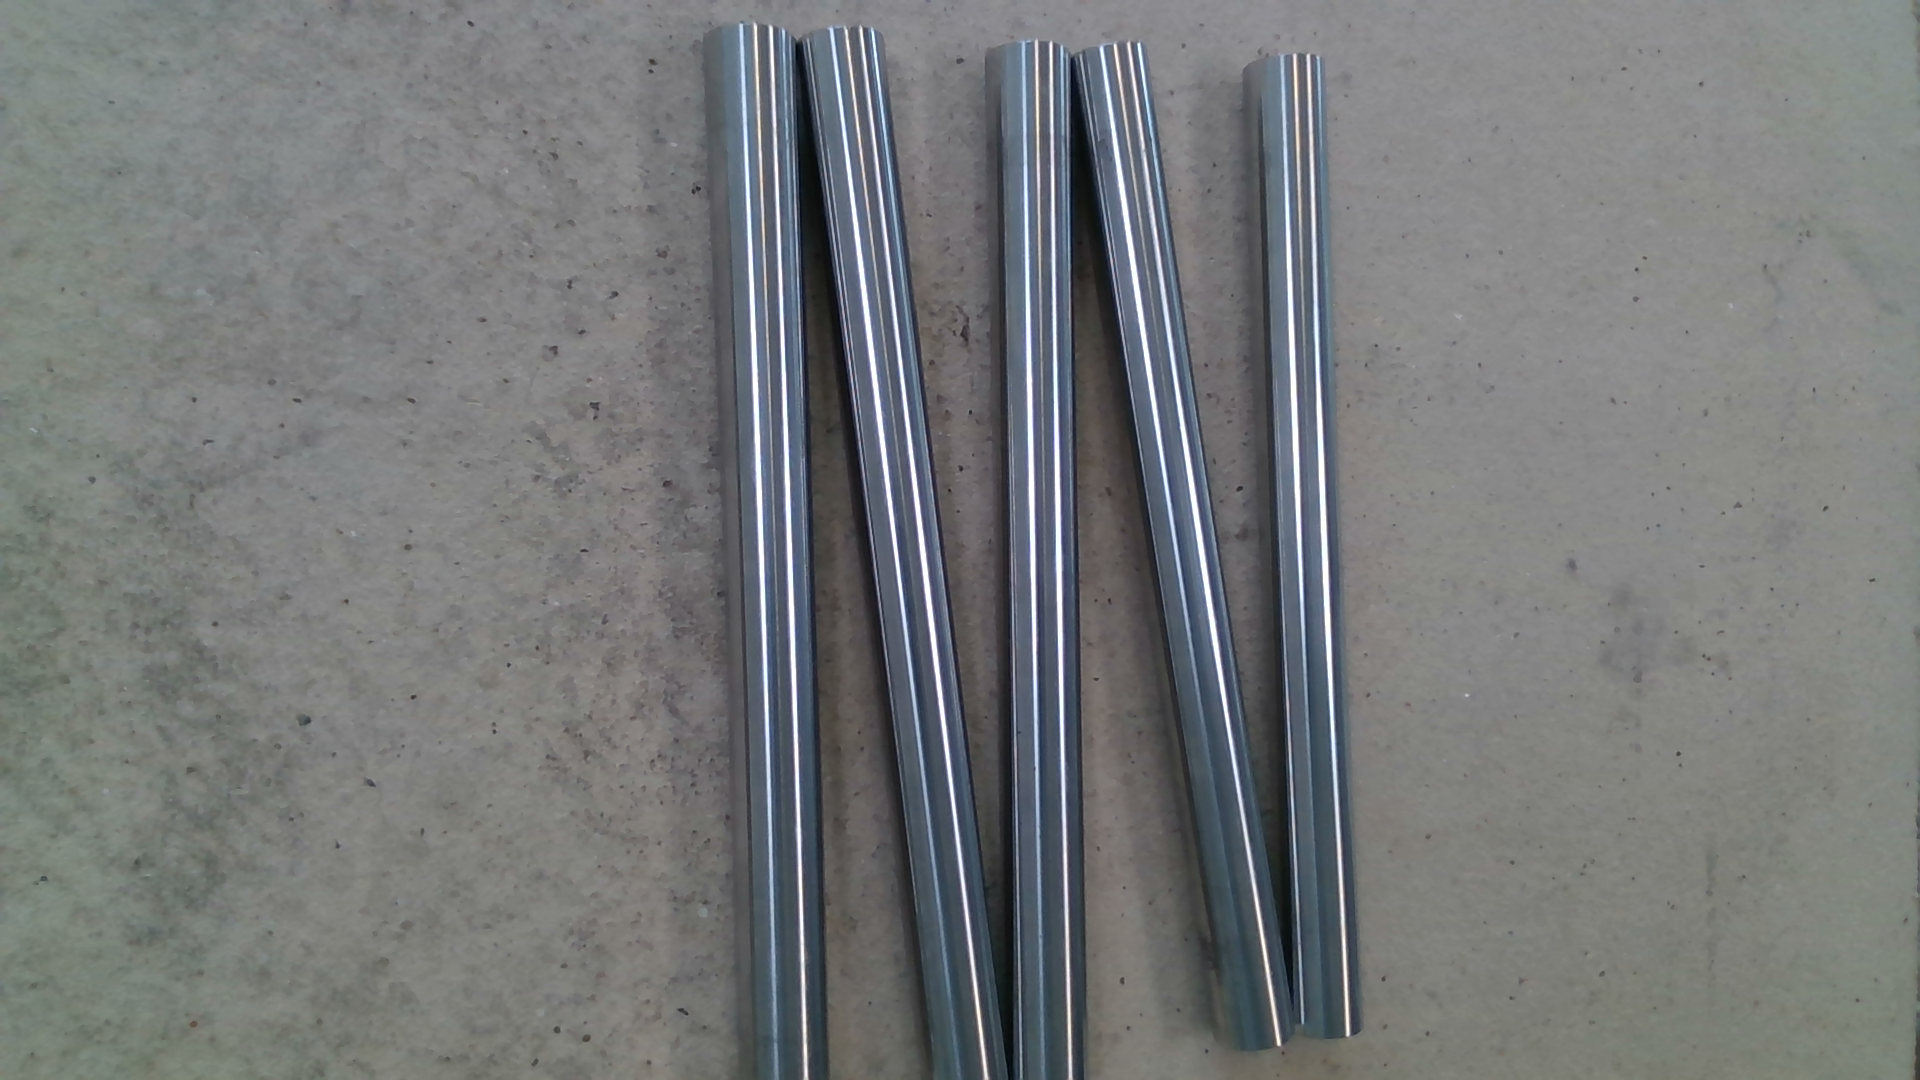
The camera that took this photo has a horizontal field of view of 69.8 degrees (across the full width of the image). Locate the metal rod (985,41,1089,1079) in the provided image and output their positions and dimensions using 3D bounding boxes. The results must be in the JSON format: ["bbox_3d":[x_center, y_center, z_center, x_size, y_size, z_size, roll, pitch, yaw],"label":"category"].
[{"bbox_3d":[0.022,0.009,0.402,0.025,0.025,0.300,-1,91,-20],"label":"metal rod"}]

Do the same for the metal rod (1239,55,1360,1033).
[{"bbox_3d":[0.107,0.002,0.434,0.025,0.025,0.300,-3,91,-20],"label":"metal rod"}]

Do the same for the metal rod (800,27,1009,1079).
[{"bbox_3d":[-0.016,0.011,0.389,0.025,0.025,0.300,-8,93,-20],"label":"metal rod"}]

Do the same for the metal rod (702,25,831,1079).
[{"bbox_3d":[-0.052,0.015,0.375,0.025,0.025,0.300,-2,91,-20],"label":"metal rod"}]

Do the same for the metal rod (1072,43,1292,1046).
[{"bbox_3d":[0.067,0.004,0.419,0.025,0.025,0.300,-10,94,-20],"label":"metal rod"}]
